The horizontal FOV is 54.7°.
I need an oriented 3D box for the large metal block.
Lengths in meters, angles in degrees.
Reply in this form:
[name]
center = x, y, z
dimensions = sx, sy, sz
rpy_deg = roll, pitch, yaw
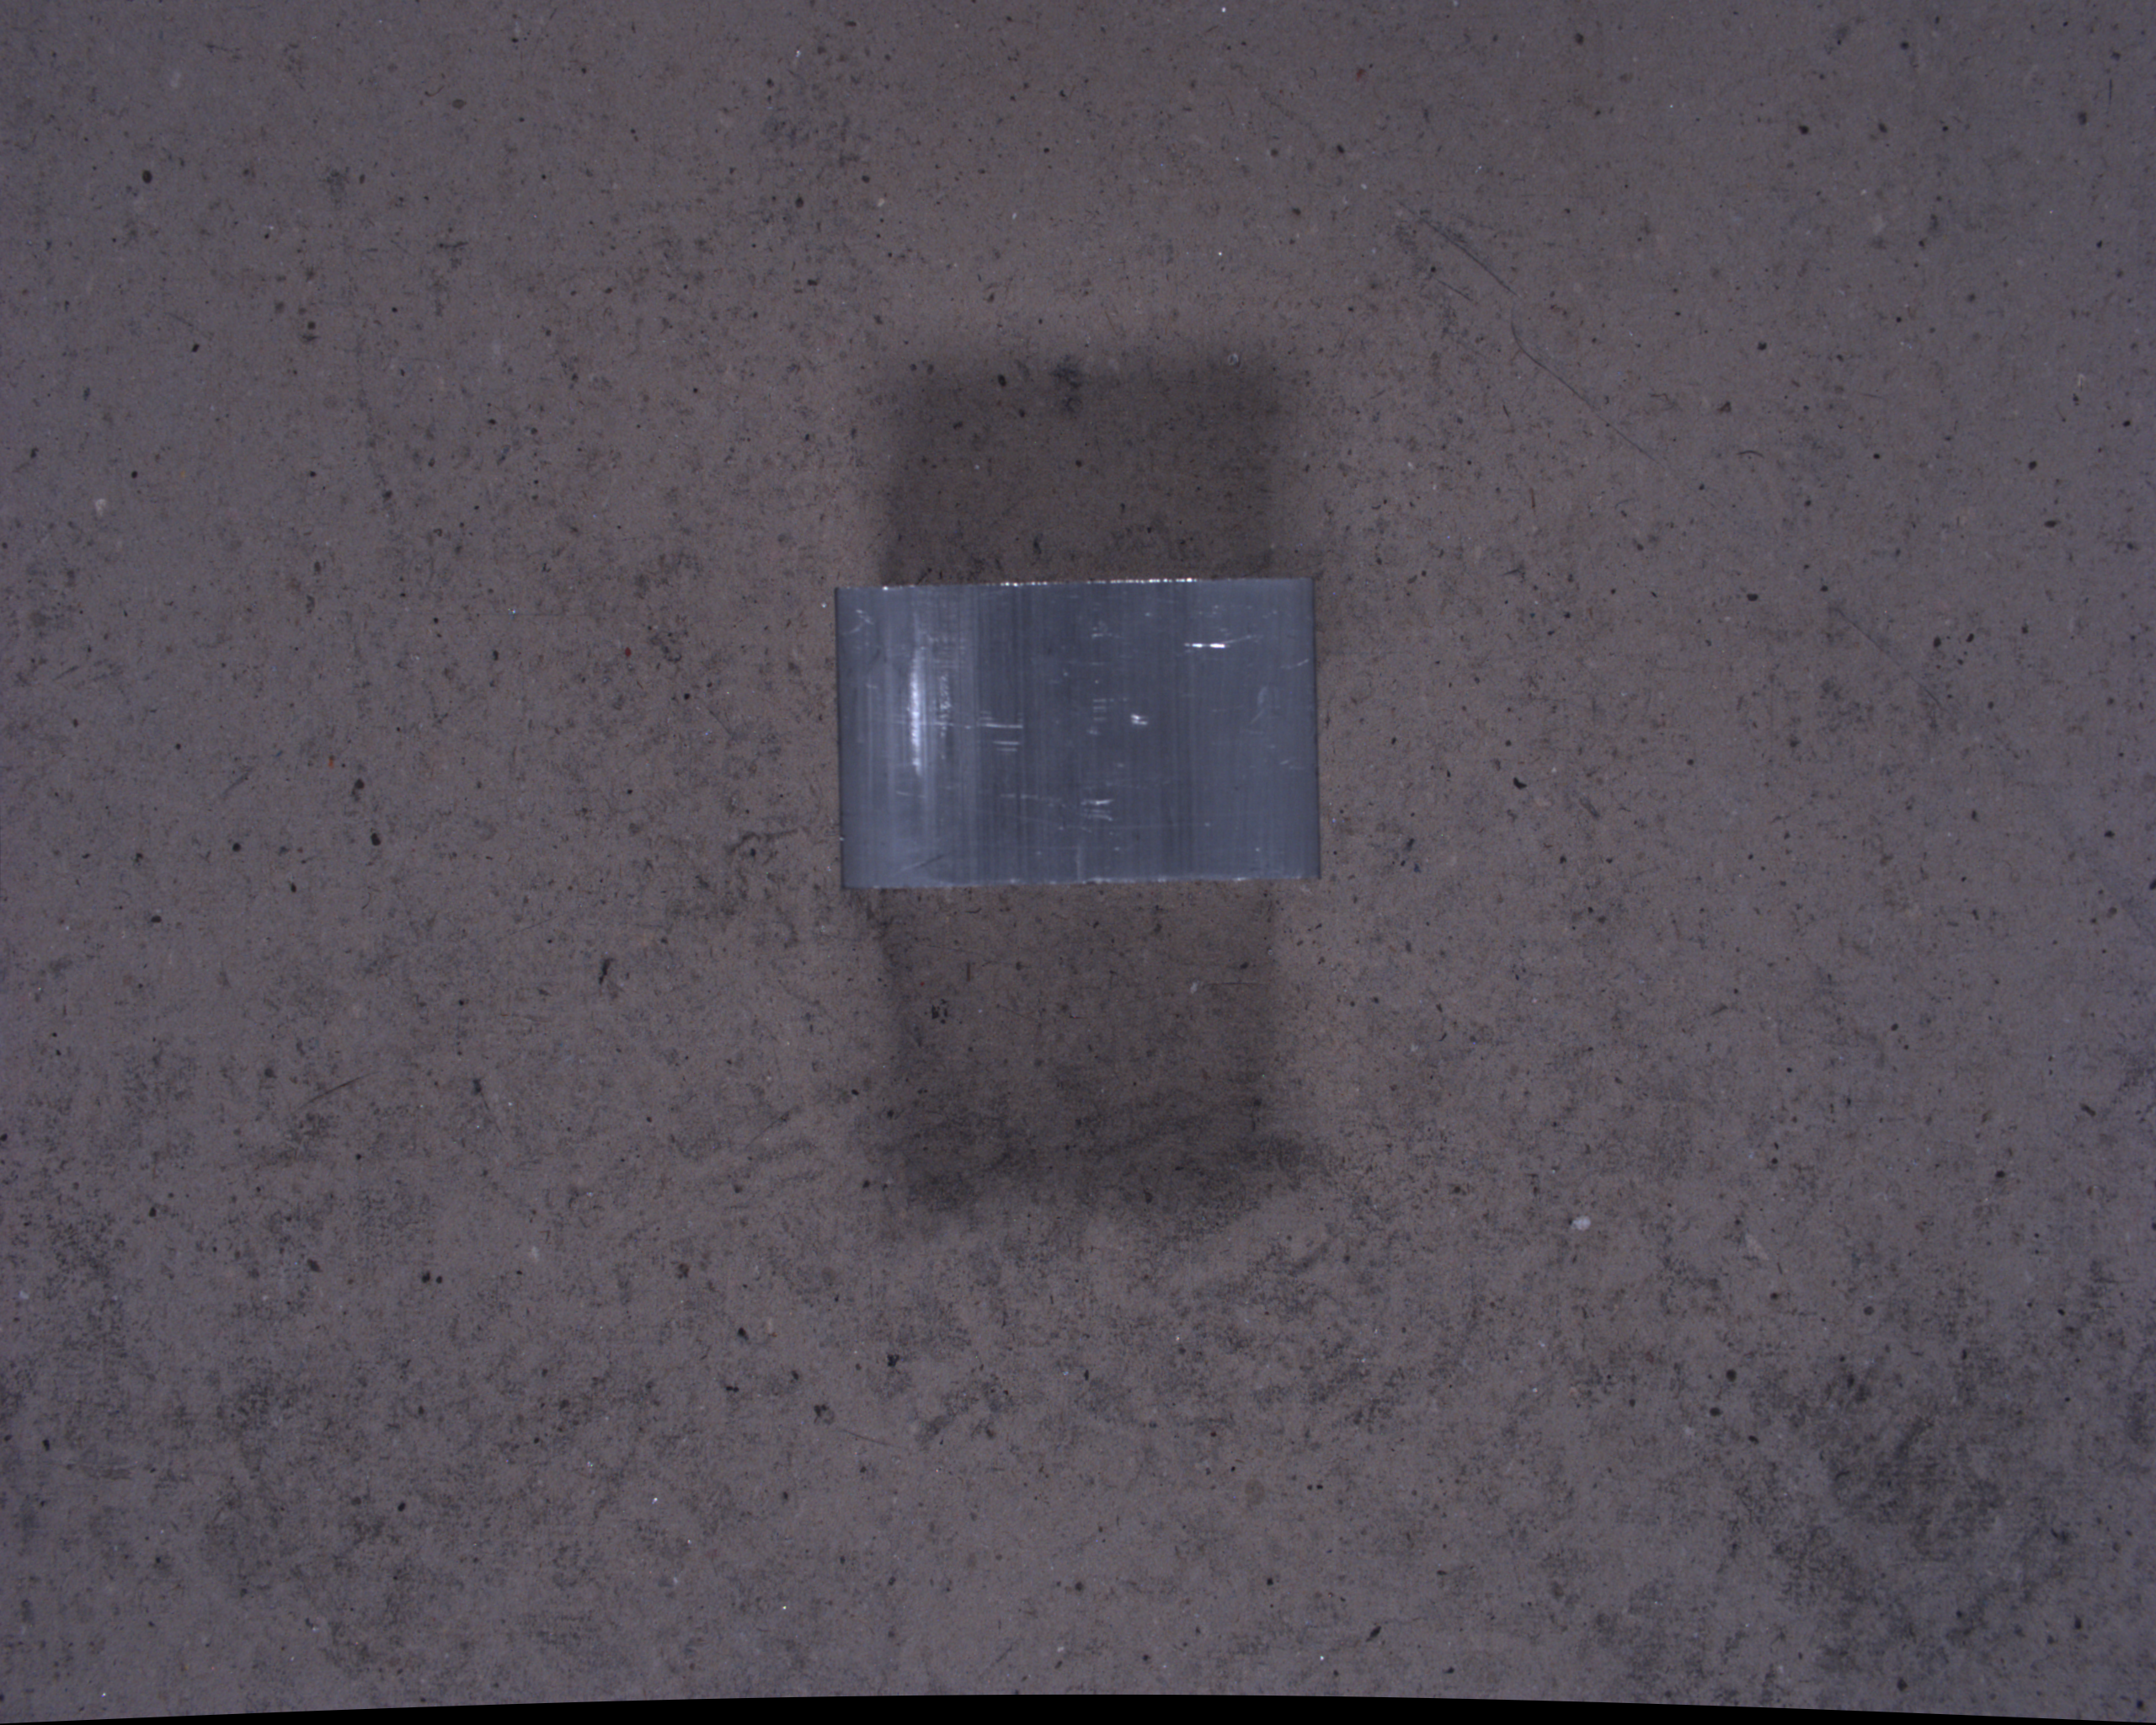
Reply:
[large metal block]
center = 0.000, -0.022, 0.384
dimensions = 0.081, 0.080, 0.050
rpy_deg = -1, 90, -1
